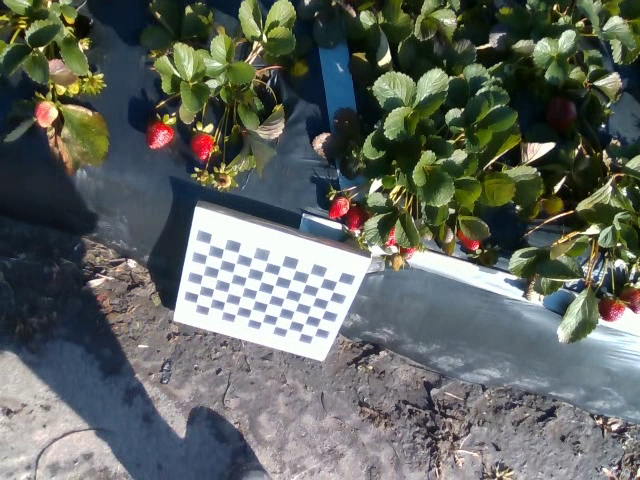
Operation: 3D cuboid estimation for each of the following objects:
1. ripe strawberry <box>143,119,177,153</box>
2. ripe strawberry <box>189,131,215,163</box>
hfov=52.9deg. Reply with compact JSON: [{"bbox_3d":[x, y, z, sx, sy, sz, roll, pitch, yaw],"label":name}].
[{"bbox_3d":[-0.257,-0.160,1.002,0.050,0.050,0.044,29,-28,-18],"label":"ripe strawberry"},{"bbox_3d":[-0.186,-0.145,1.009,0.042,0.049,0.039,-16,-27,24],"label":"ripe strawberry"}]
